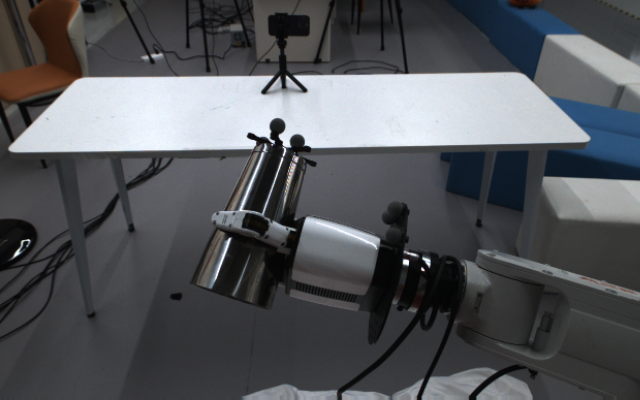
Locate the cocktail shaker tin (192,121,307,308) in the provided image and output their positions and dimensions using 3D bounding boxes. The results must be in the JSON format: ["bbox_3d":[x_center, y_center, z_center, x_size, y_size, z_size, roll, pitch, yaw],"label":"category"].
[{"bbox_3d":[-0.073,0.027,0.543,0.093,0.093,0.170,14,73,17],"label":"cocktail shaker tin"}]
